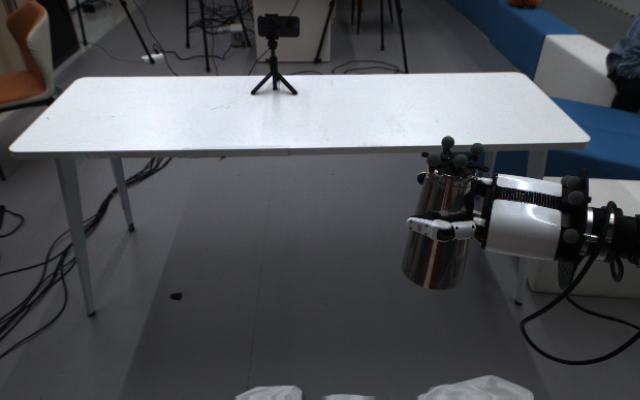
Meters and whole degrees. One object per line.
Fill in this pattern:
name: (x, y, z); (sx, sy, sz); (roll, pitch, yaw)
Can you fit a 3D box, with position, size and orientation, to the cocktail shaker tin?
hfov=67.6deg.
cocktail shaker tin: (0.174, 0.029, 0.682); (0.093, 0.170, 0.093); (3, 30, -1)
